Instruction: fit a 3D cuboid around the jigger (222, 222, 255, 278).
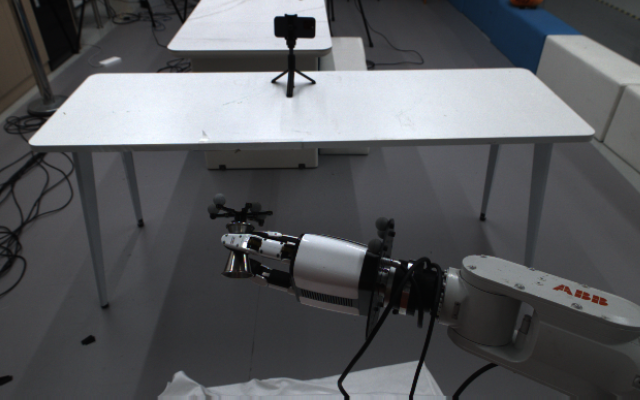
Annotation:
[{"bbox_3d":[-0.109,0.067,0.650,0.043,0.043,0.071,1,70,-2],"label":"jigger"}]
